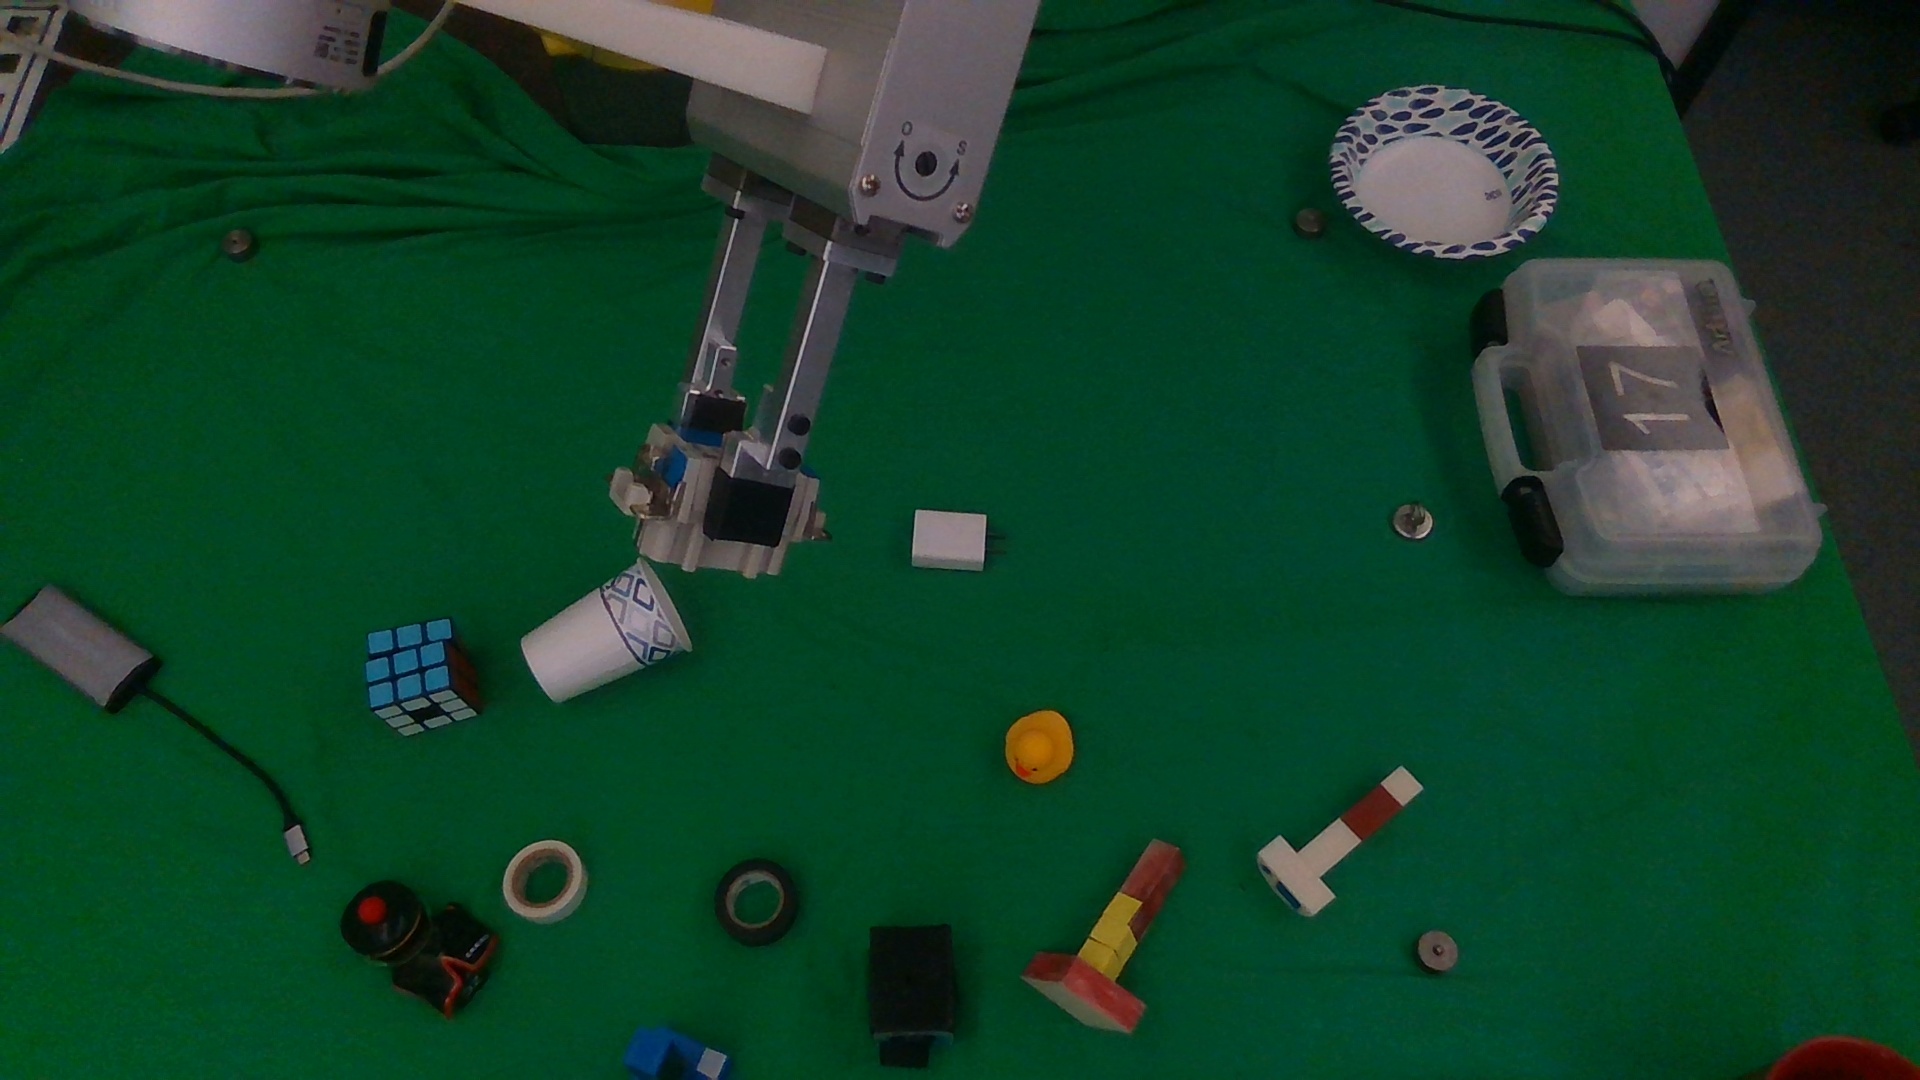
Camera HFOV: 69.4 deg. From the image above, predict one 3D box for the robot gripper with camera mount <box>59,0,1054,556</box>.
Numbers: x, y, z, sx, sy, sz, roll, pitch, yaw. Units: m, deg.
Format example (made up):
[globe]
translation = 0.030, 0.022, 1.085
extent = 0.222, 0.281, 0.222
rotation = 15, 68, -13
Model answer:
[robot gripper with camera mount]
translation = -0.109, -0.085, 0.332
extent = 0.193, 0.158, 0.119
rotation = 9, 18, -36

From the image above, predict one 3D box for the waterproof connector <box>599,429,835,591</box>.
[waterproof connector]
translation = -0.070, -0.008, 0.403
extent = 0.065, 0.037, 0.035
rotation = 7, 21, -39
